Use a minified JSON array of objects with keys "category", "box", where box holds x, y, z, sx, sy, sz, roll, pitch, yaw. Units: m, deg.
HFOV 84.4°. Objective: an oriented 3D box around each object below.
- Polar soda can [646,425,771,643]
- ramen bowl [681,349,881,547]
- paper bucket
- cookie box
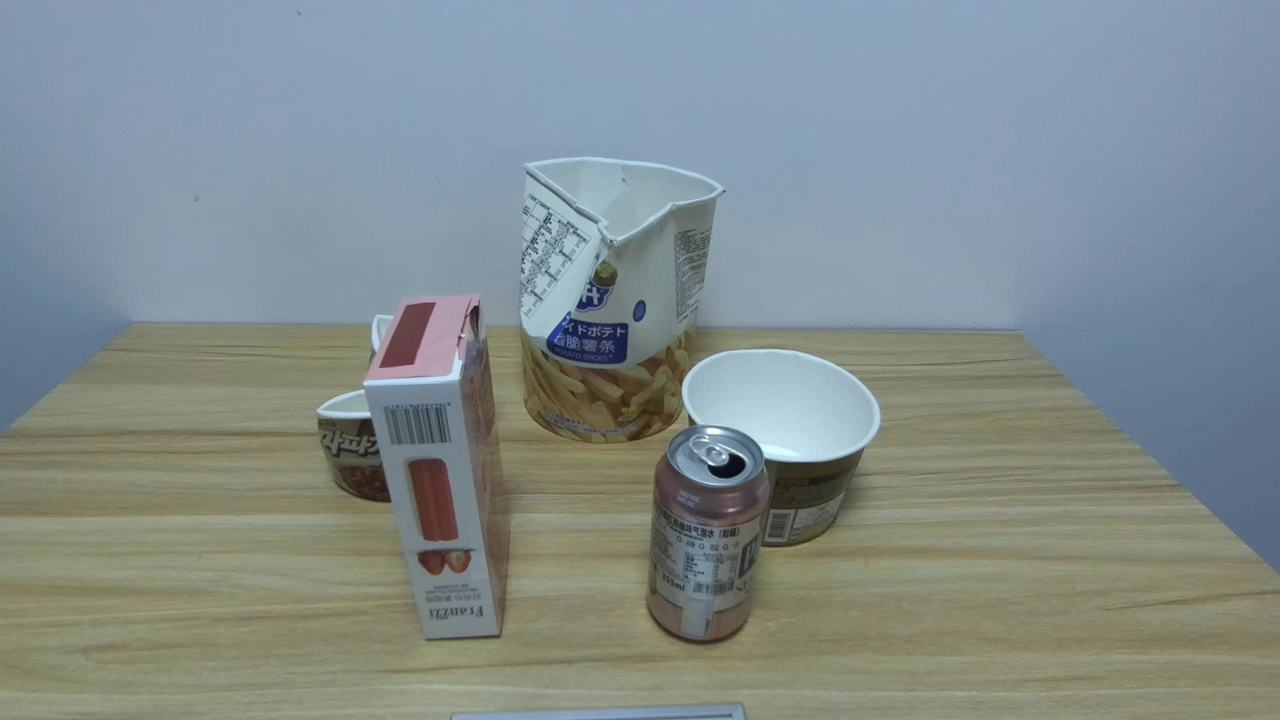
[{"category":"Polar soda can","box":[0.040,0.103,0.420,0.067,0.125,0.067,2,30,-1]},{"category":"ramen bowl","box":[0.097,0.066,0.520,0.140,0.095,0.140,1,30,0]},{"category":"paper bucket","box":[-0.036,-0.053,0.607,0.162,0.202,0.169,20,32,29]},{"category":"cookie box","box":[-0.111,0.062,0.419,0.049,0.188,0.105,-3,31,-5]}]
